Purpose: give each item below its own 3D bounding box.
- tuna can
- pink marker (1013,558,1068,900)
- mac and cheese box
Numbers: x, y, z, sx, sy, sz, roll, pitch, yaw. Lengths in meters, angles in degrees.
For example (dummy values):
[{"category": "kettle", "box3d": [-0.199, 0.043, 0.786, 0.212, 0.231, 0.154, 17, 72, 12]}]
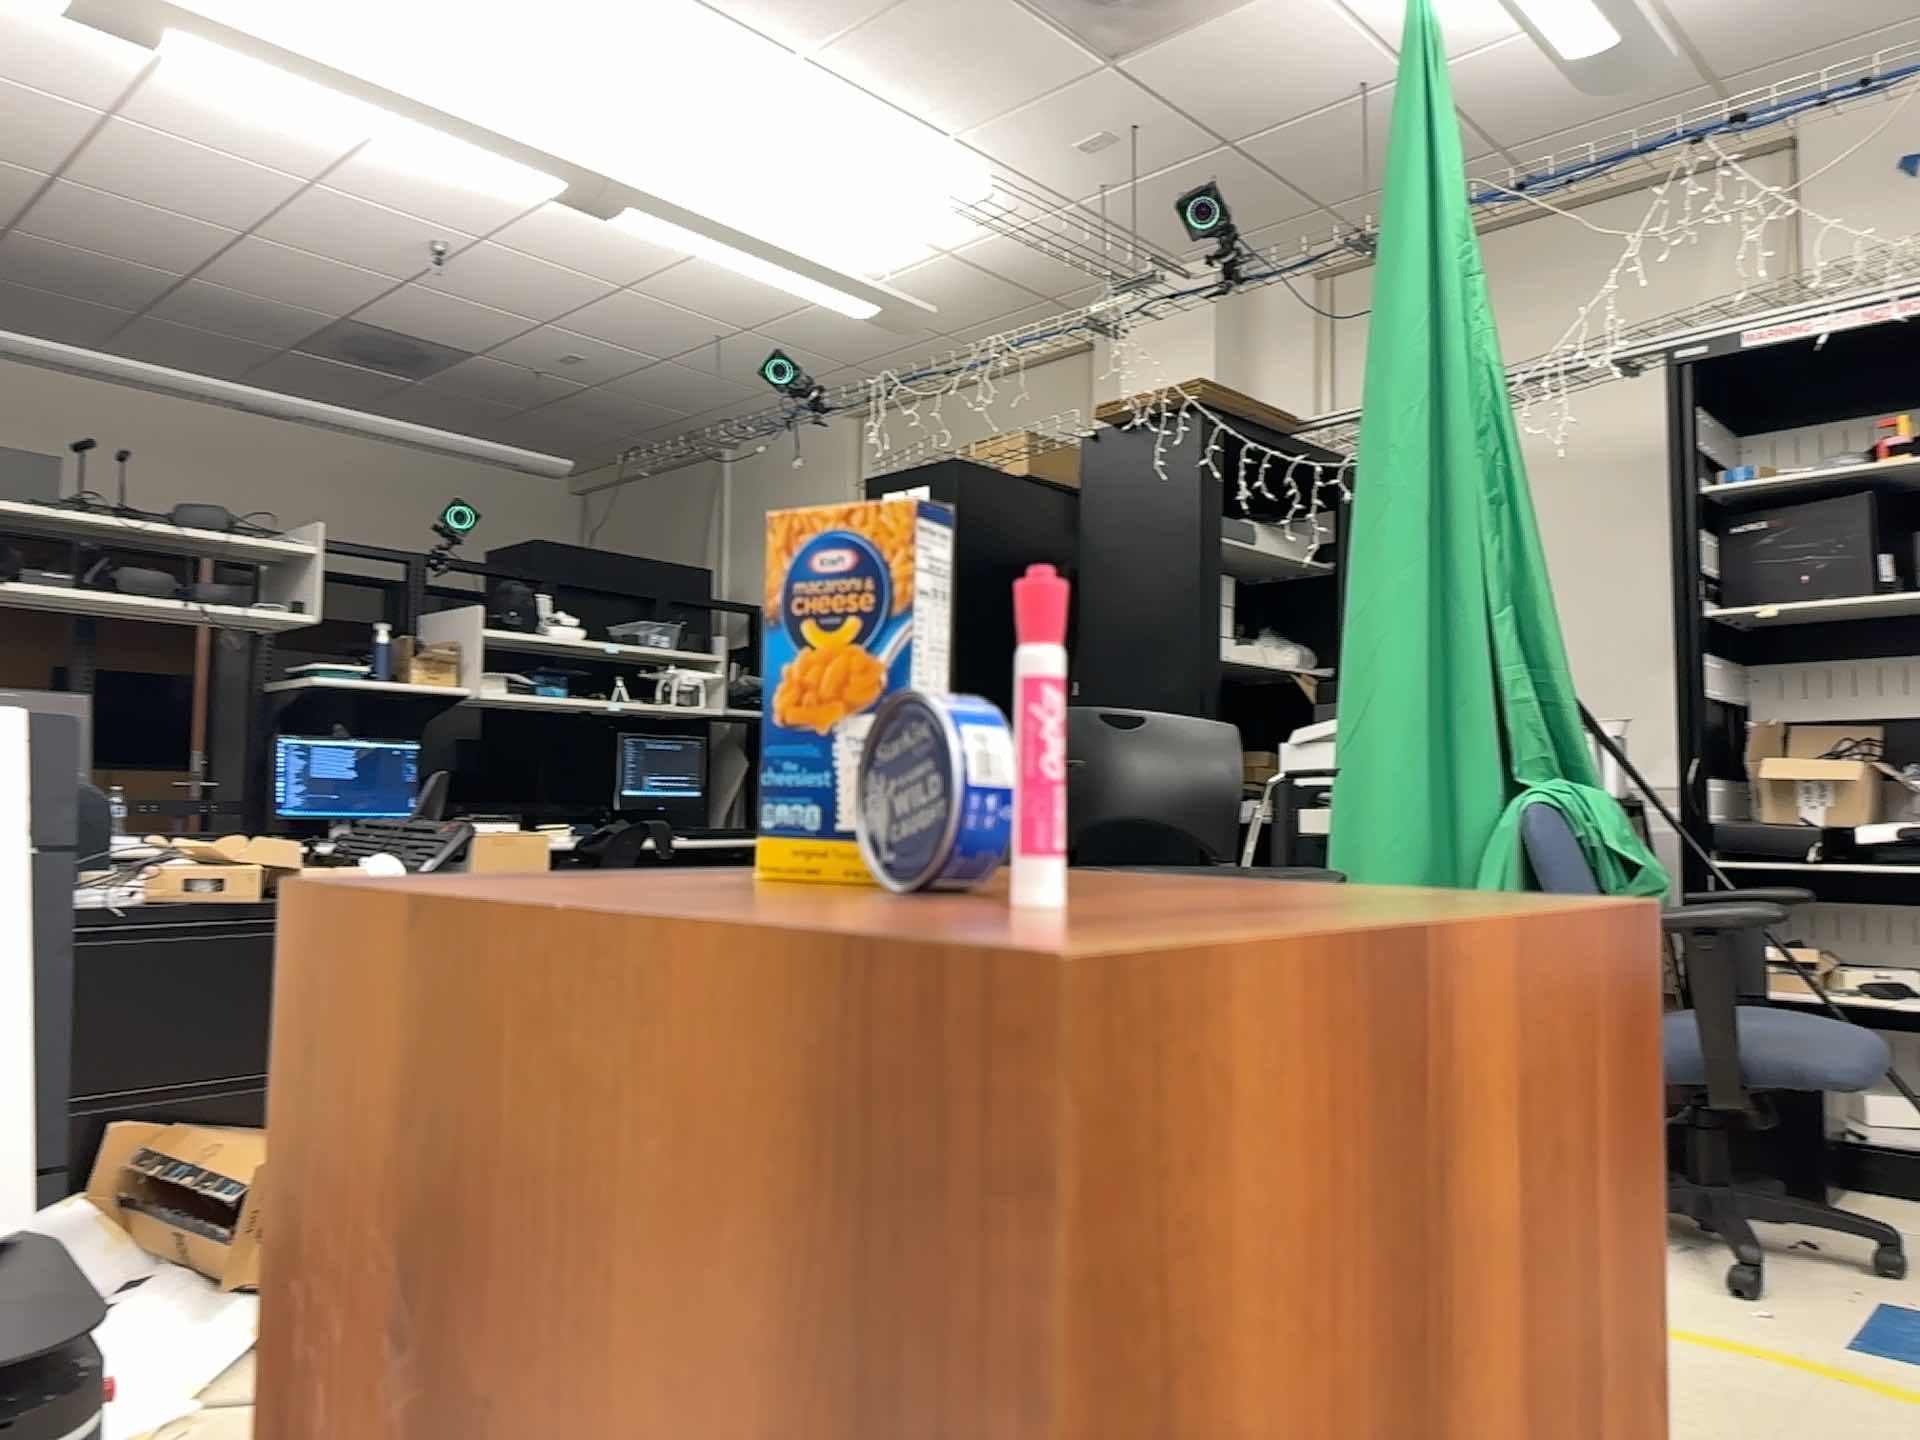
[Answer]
[{"category": "tuna can", "box3d": [-0.010, 0.027, 0.575, 0.034, 0.083, 0.083, 3, -4, -29]}, {"category": "pink marker", "box3d": [0.029, 0.003, 0.480, 0.020, 0.121, 0.020, 0, -3, 0]}, {"category": "mac and cheese box", "box3d": [-0.056, -0.017, 0.658, 0.088, 0.181, 0.035, -2, -3, 35]}]
